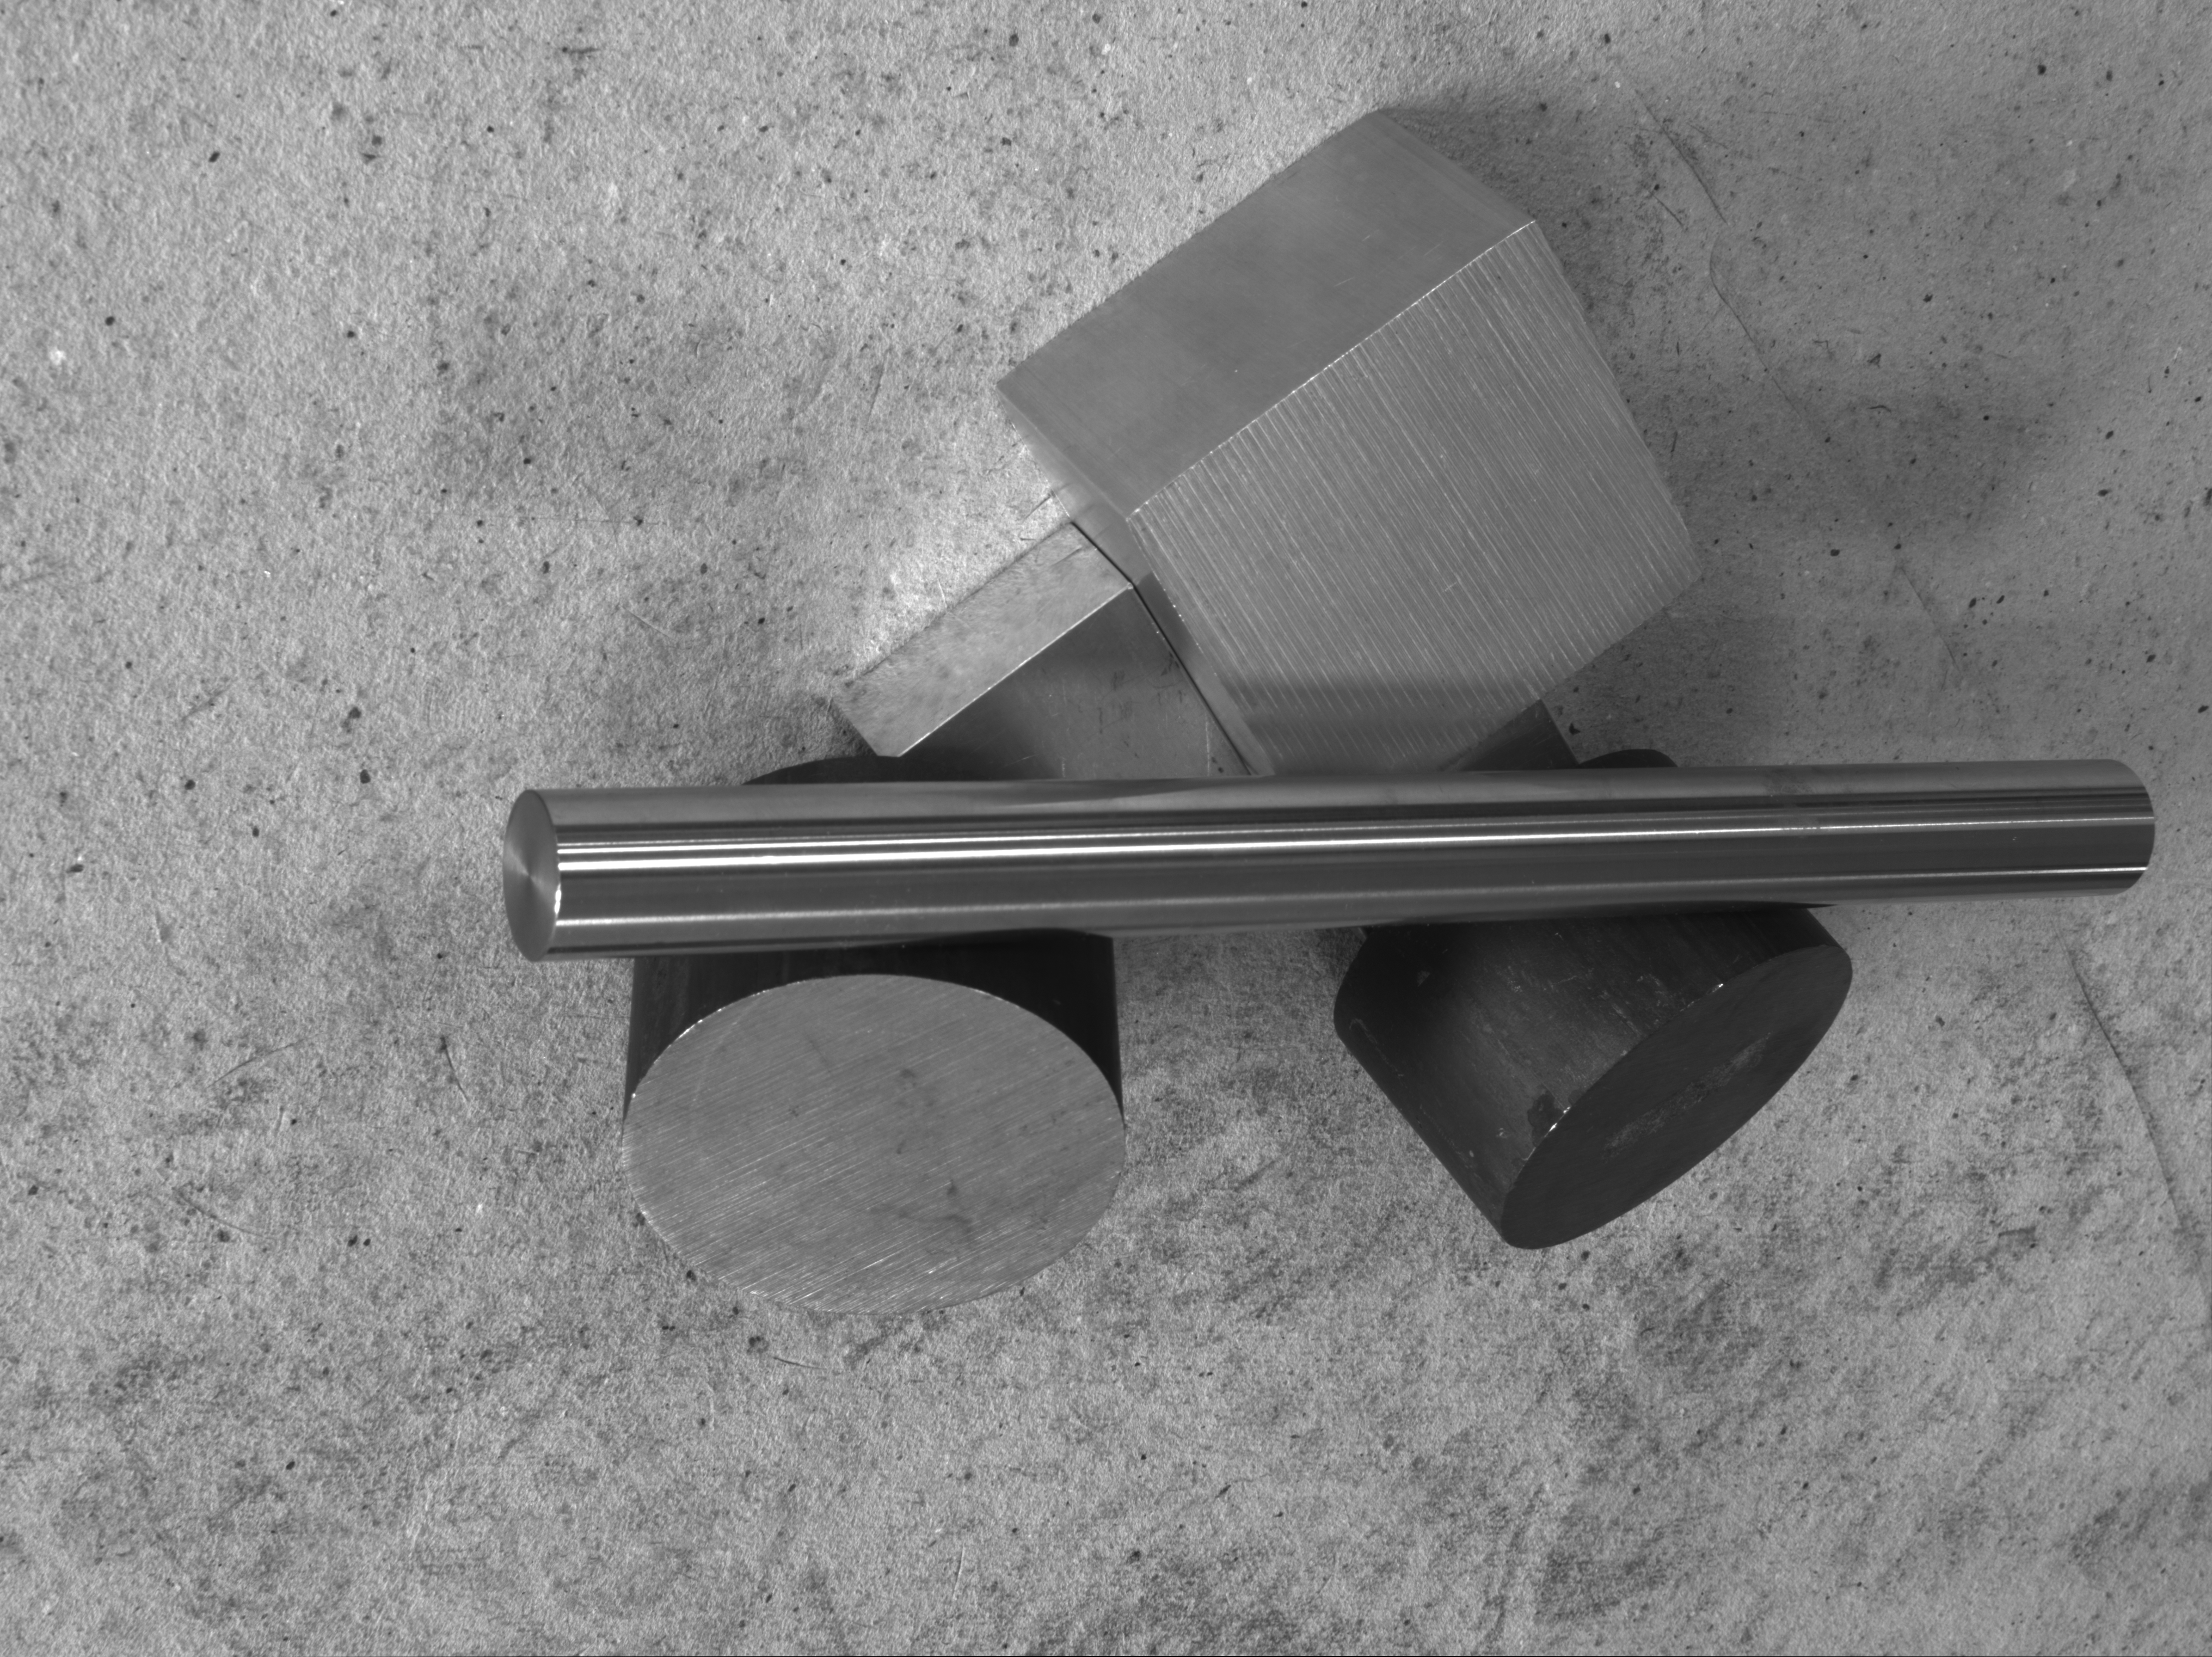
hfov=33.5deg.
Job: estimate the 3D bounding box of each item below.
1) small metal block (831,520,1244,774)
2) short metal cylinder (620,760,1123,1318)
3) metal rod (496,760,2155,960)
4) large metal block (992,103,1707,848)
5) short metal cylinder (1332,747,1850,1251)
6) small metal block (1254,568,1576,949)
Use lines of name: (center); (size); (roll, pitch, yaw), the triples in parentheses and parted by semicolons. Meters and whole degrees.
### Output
small metal block: (-0.010, -0.015, 0.624); (0.050, 0.025, 0.050); (-38, 129, -4)
short metal cylinder: (-0.038, 0.035, 0.604); (0.080, 0.050, 0.080); (-2, 133, -2)
metal rod: (0.049, 0.003, 0.600); (0.301, 0.025, 0.025); (-1, 119, -28)
large metal block: (0.041, -0.058, 0.606); (0.080, 0.050, 0.080); (-36, 129, -4)
short metal cylinder: (0.088, 0.031, 0.670); (0.080, 0.050, 0.080); (-31, 153, -17)
small metal block: (0.053, -0.013, 0.658); (0.050, 0.025, 0.050); (-37, 129, -3)
